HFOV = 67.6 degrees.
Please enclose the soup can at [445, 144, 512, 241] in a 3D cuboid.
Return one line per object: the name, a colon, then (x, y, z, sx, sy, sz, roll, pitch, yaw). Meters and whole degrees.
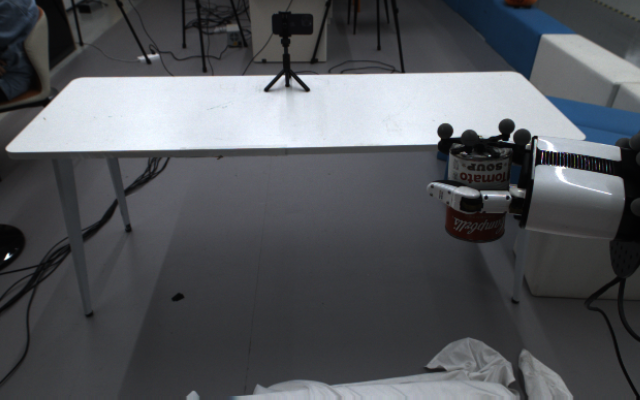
soup can: (0.181, -0.012, 0.551, 0.067, 0.101, 0.067, -3, 26, 2)
